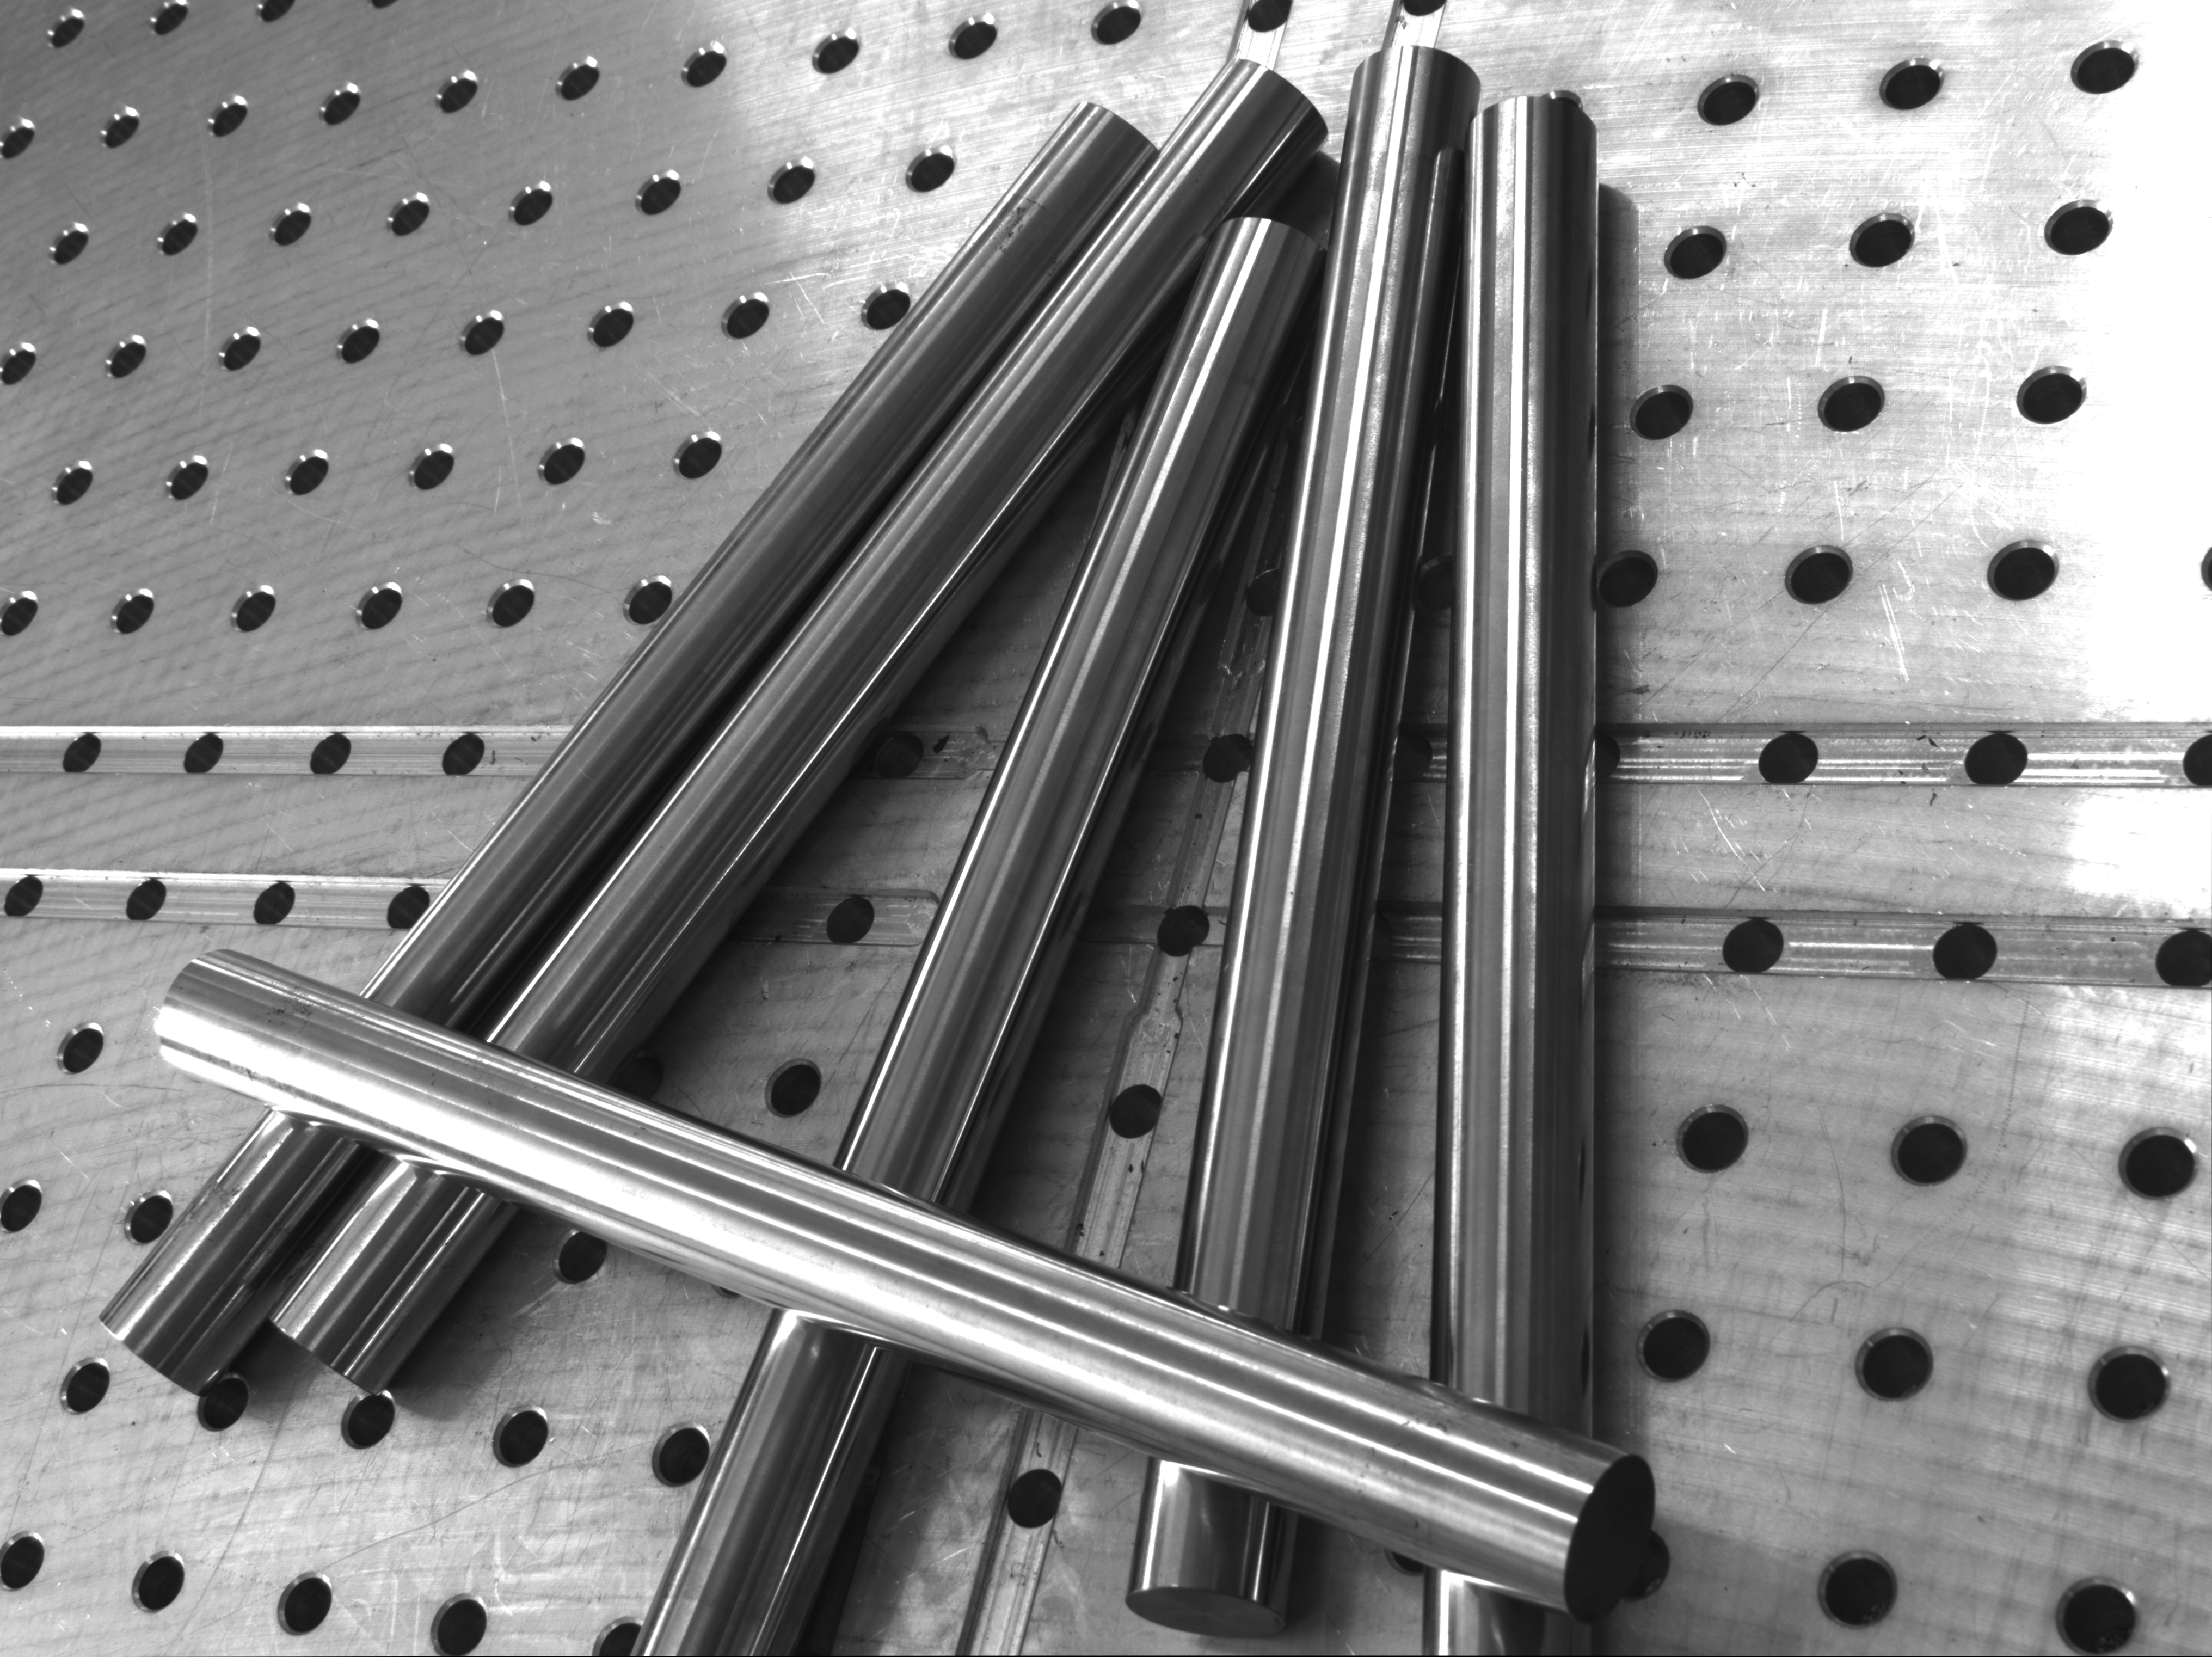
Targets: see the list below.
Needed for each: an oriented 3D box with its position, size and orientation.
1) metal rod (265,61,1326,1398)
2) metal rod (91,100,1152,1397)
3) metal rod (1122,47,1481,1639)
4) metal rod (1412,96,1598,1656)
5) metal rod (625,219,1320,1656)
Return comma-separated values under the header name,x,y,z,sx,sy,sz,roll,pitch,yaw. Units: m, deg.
name,x,y,z,sx,sy,sz,roll,pitch,yaw
metal rod,-0.055,-0.023,0.693,0.025,0.025,0.300,29,77,38
metal rod,-0.088,-0.019,0.707,0.025,0.025,0.300,31,79,38
metal rod,0.037,-0.010,0.635,0.025,0.025,0.300,-5,59,26
metal rod,0.068,0.002,0.611,0.025,0.025,0.300,-9,57,24
metal rod,-0.020,0.022,0.646,0.025,0.025,0.300,8,66,32
